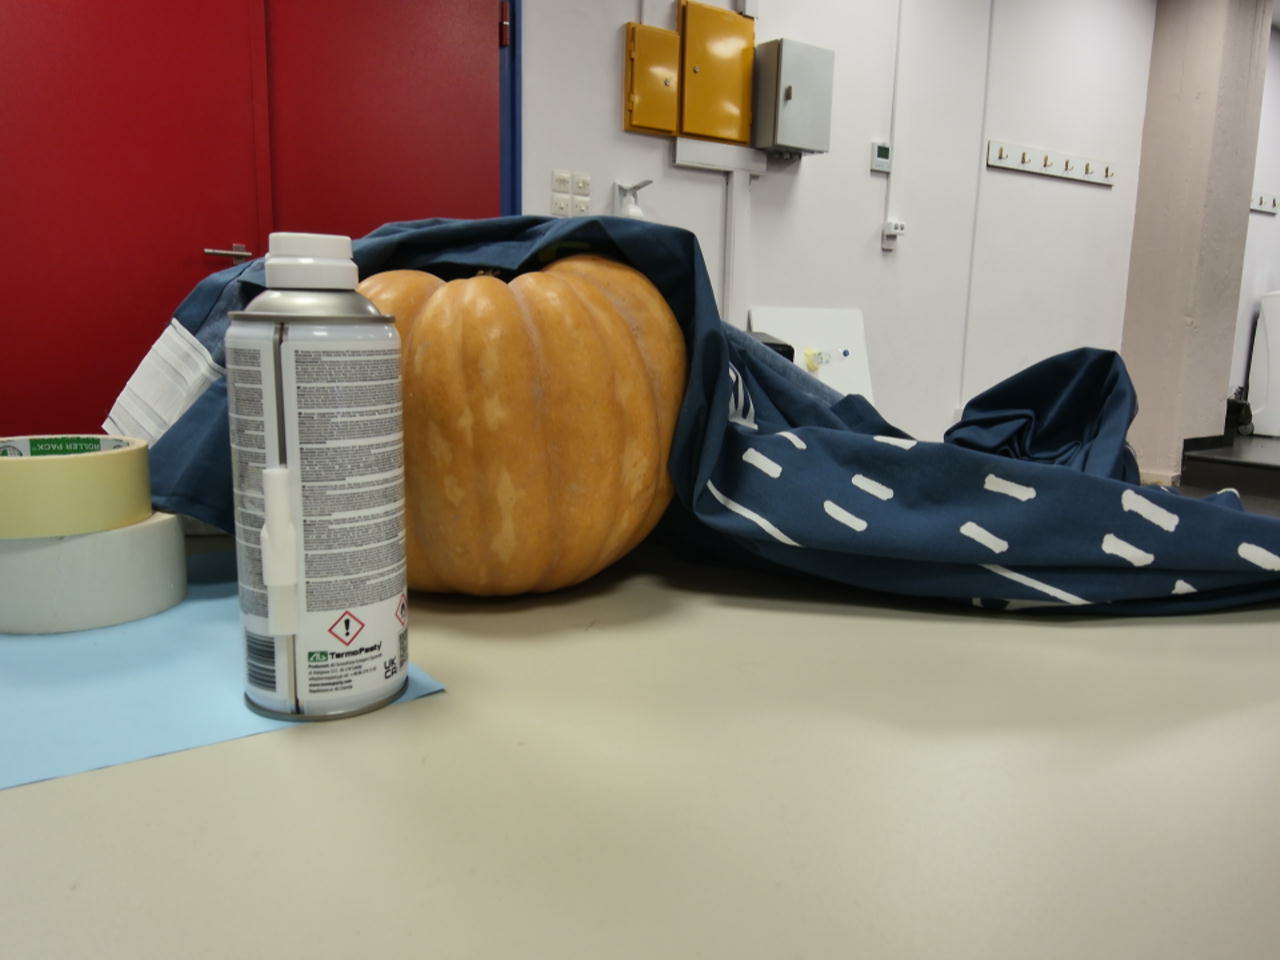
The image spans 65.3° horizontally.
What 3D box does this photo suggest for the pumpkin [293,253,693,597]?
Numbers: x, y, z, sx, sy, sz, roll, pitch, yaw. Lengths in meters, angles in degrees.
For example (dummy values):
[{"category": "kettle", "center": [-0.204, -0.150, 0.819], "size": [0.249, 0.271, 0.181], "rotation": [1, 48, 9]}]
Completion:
[{"category": "pumpkin", "center": [-0.080, -0.035, 0.579], "size": [0.230, 0.194, 0.230], "rotation": [1, 8, 0]}]
